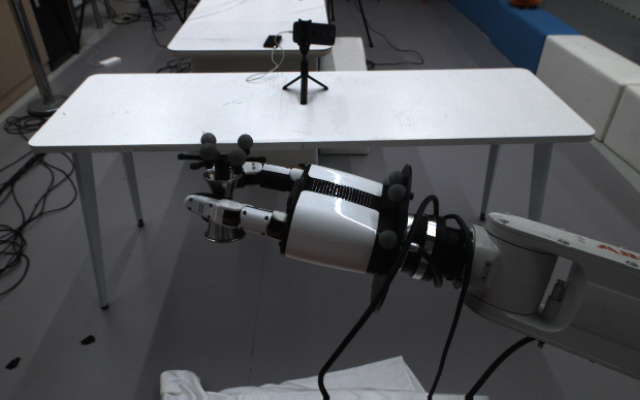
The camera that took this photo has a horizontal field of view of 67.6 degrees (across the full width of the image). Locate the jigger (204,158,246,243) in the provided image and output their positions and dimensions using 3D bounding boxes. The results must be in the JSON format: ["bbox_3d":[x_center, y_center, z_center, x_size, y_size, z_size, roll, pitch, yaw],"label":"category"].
[{"bbox_3d":[-0.101,0.005,0.516,0.043,0.071,0.043,2,20,-1],"label":"jigger"}]
